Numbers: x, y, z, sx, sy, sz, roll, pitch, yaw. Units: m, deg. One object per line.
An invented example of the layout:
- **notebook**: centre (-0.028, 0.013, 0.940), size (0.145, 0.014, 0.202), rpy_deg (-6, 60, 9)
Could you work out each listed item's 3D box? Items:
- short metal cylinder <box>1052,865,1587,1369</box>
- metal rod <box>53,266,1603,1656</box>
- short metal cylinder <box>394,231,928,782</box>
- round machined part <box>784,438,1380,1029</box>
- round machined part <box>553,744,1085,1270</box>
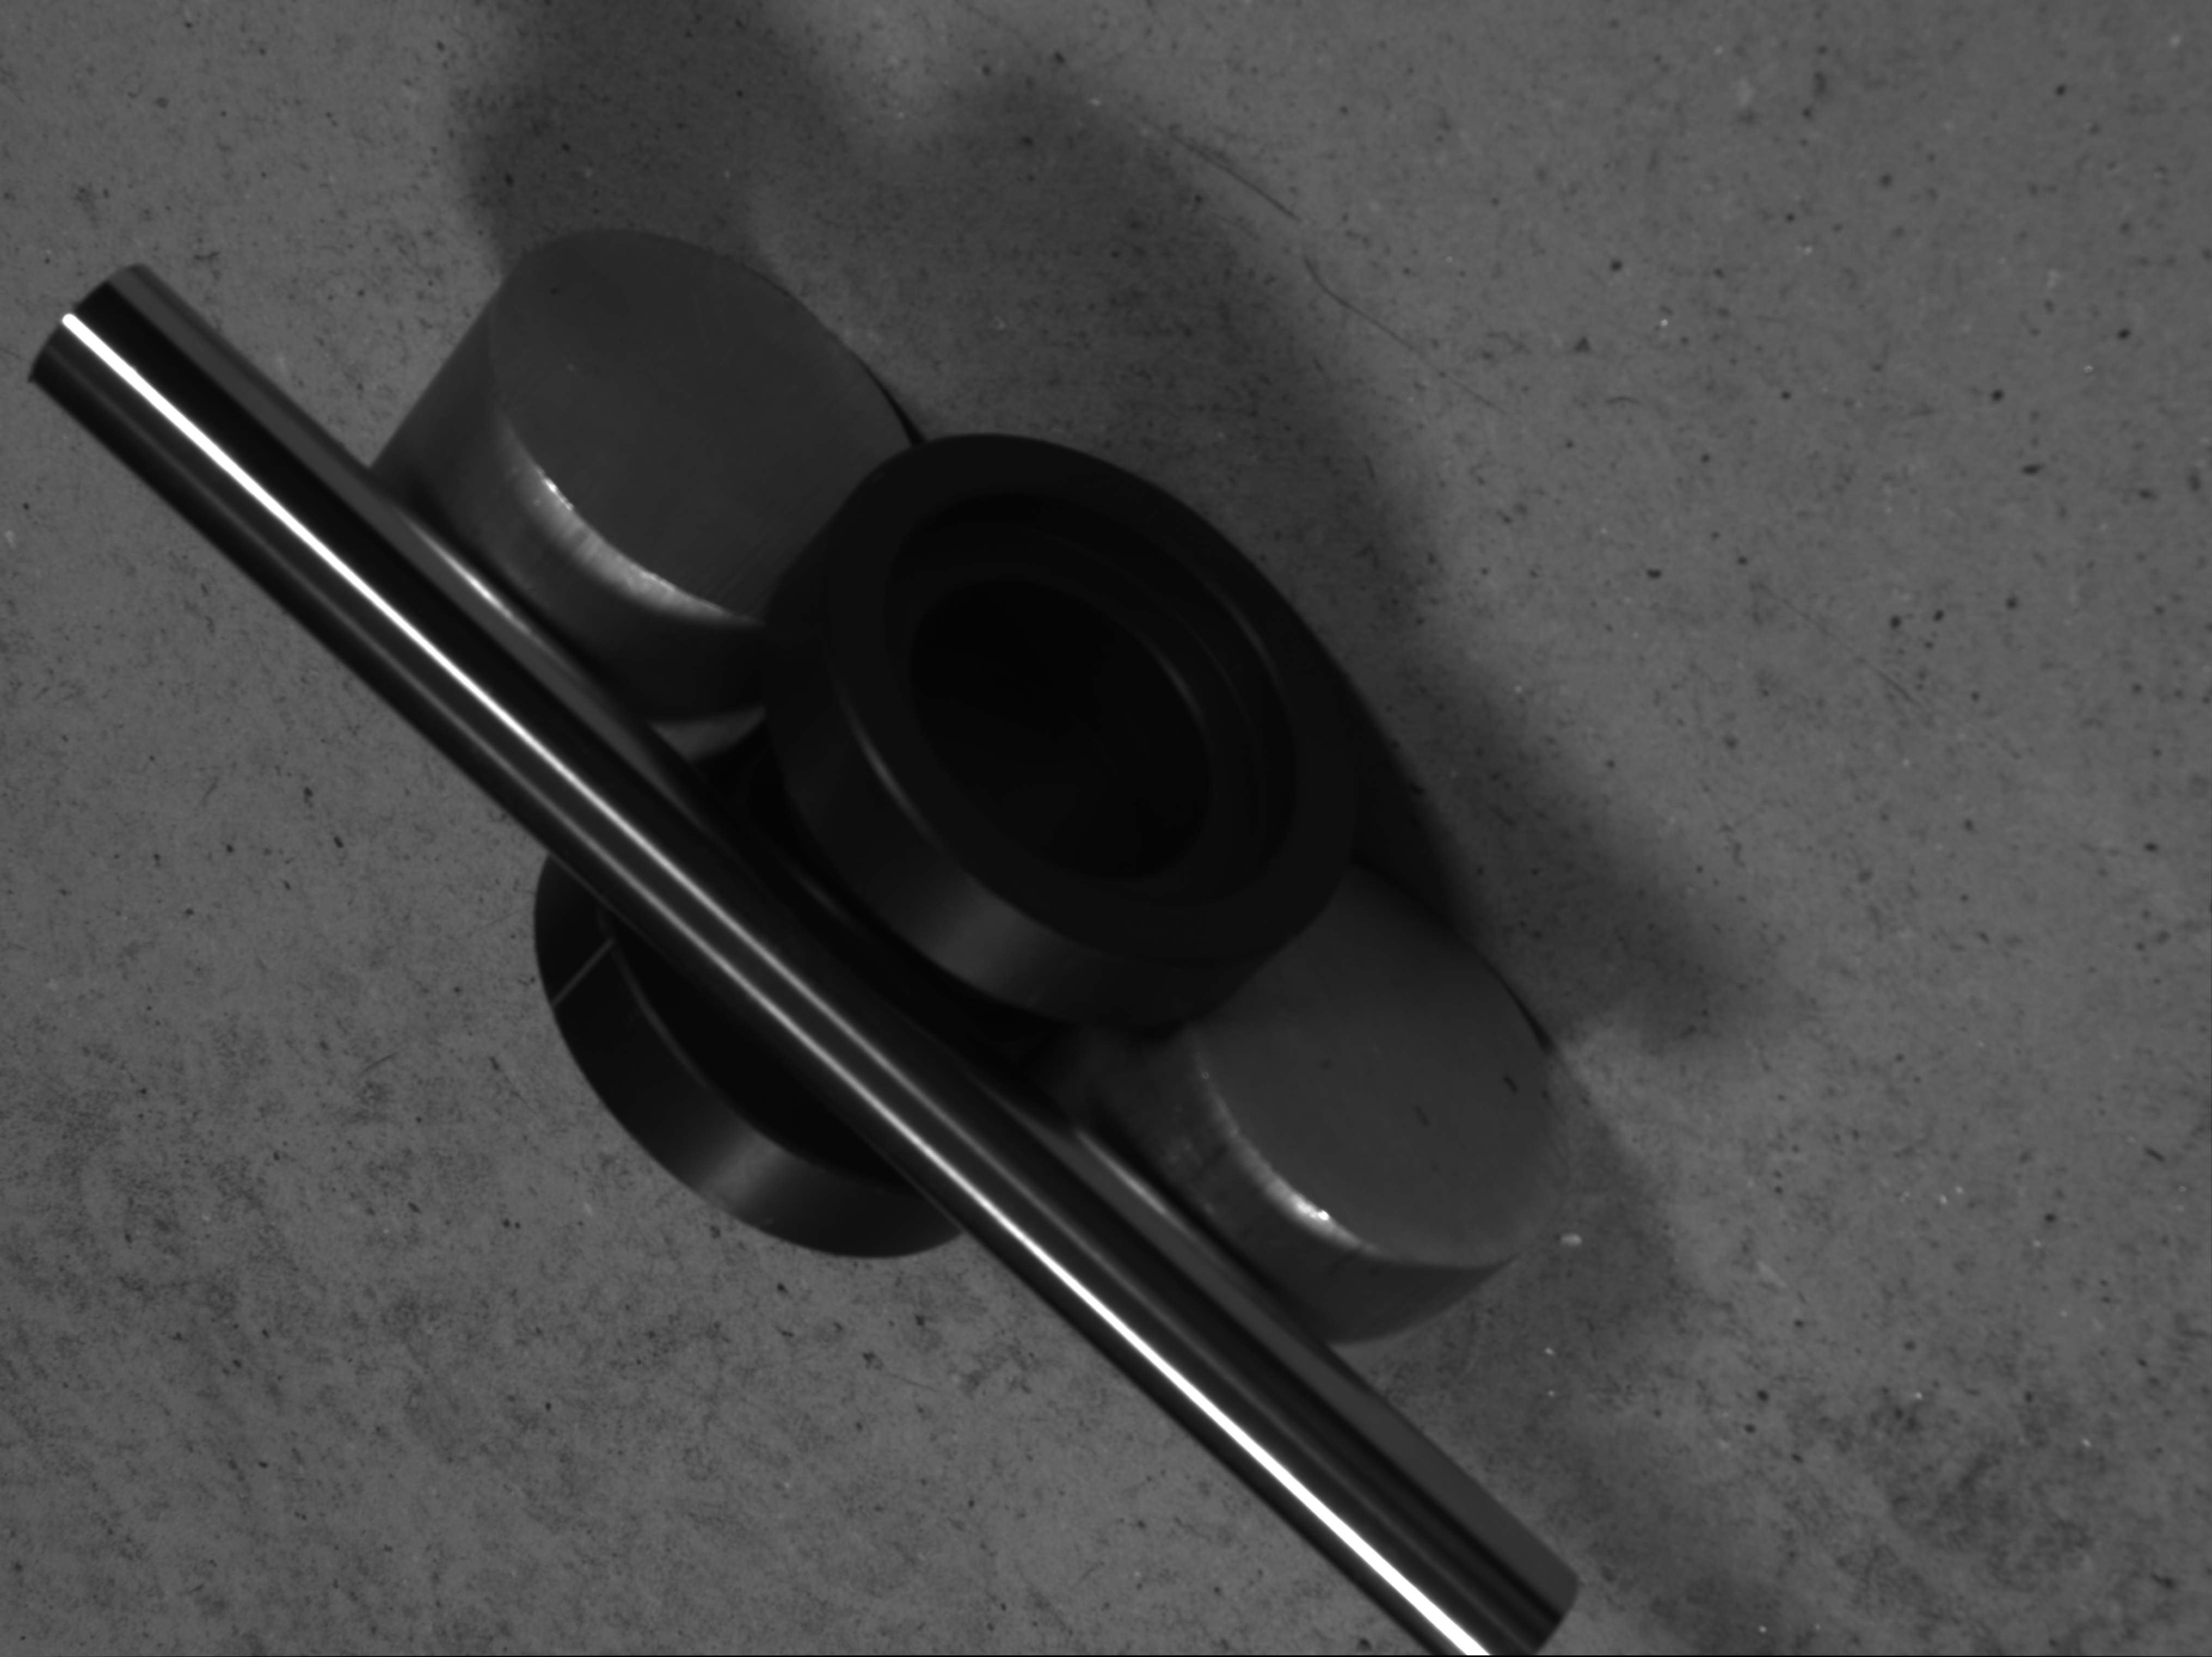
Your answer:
- **short metal cylinder**: centre (0.033, 0.050, 0.610), size (0.080, 0.080, 0.050), rpy_deg (43, 128, -3)
- **metal rod**: centre (-0.042, 0.025, 0.566), size (0.300, 0.025, 0.025), rpy_deg (43, 128, -2)
- **short metal cylinder**: centre (-0.074, -0.051, 0.602), size (0.080, 0.080, 0.050), rpy_deg (43, 128, -3)
- **round machined part**: centre (-0.008, -0.011, 0.583), size (0.098, 0.098, 0.042), rpy_deg (43, 133, -3)
- **round machined part**: centre (-0.040, 0.022, 0.616), size (0.098, 0.098, 0.042), rpy_deg (43, 124, -3)
